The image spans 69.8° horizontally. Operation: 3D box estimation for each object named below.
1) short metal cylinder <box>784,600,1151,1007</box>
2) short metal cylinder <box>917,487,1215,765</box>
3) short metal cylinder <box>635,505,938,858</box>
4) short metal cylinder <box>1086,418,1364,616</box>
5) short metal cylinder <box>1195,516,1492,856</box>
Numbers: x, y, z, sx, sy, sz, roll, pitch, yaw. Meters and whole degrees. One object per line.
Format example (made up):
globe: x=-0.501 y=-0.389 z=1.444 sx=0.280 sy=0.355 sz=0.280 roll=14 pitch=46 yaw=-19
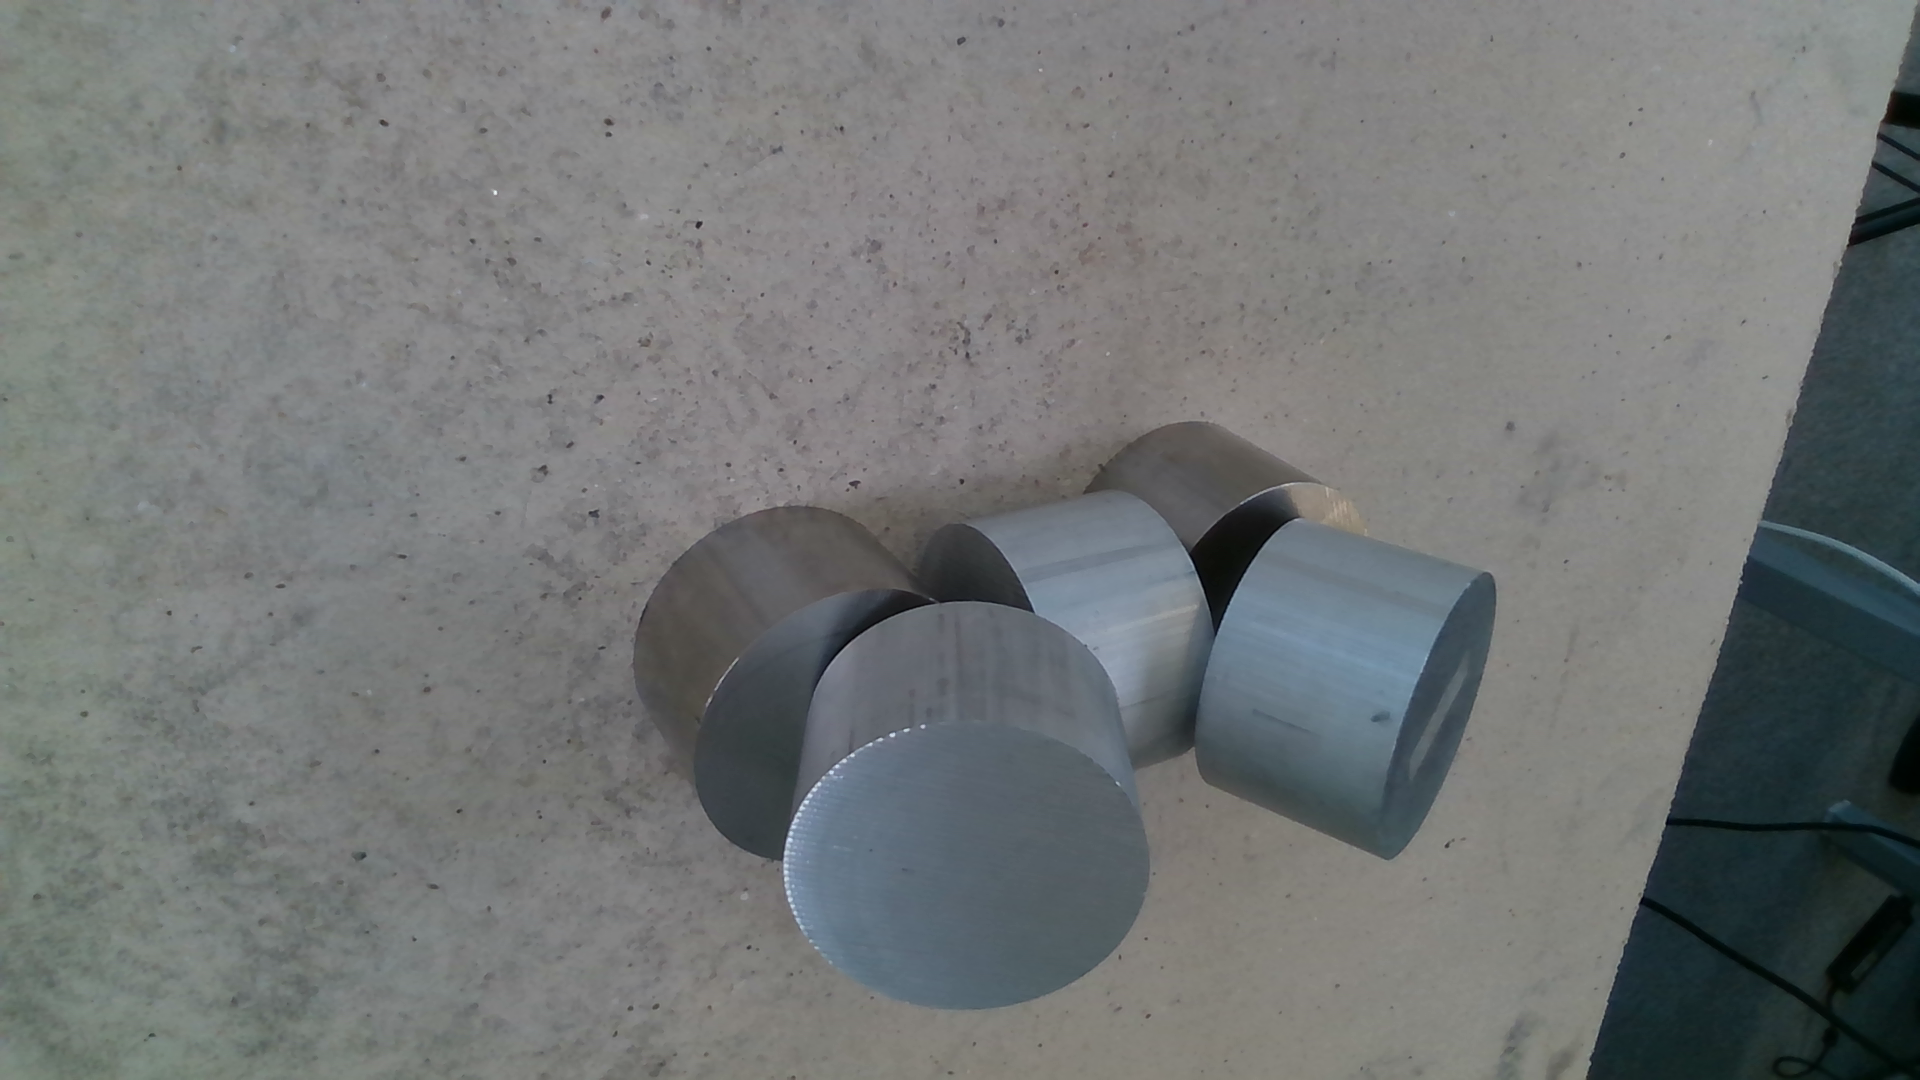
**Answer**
short metal cylinder: x=0.002 y=0.061 z=0.323 sx=0.080 sy=0.050 sz=0.080 roll=0 pitch=117 yaw=-1
short metal cylinder: x=0.027 y=0.029 z=0.388 sx=0.050 sy=0.080 sz=0.080 roll=-13 pitch=121 yaw=-26
short metal cylinder: x=-0.041 y=0.037 z=0.369 sx=0.080 sy=0.050 sz=0.080 roll=-14 pitch=122 yaw=-25
short metal cylinder: x=0.078 y=0.009 z=0.427 sx=0.080 sy=0.050 sz=0.080 roll=-14 pitch=122 yaw=-25
short metal cylinder: x=0.106 y=0.039 z=0.376 sx=0.080 sy=0.050 sz=0.080 roll=-34 pitch=134 yaw=-45
